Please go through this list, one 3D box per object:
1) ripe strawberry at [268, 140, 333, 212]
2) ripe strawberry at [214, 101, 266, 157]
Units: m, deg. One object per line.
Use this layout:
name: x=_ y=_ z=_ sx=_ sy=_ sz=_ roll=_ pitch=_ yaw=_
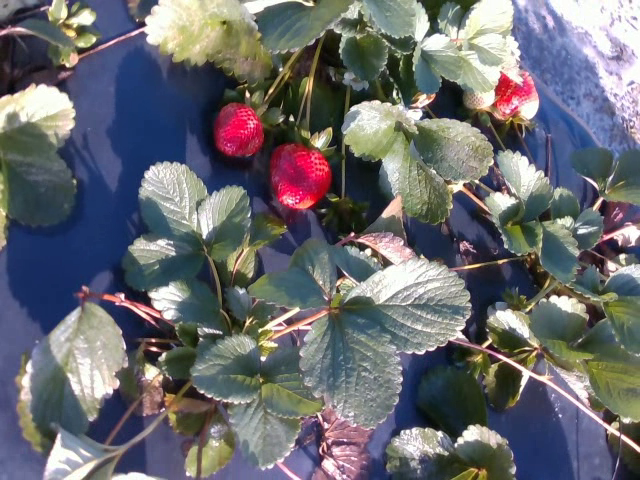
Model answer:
ripe strawberry: x=-0.017 y=-0.041 z=0.430 sx=0.052 sy=0.058 sz=0.046 roll=13 pitch=-41 yaw=8
ripe strawberry: x=-0.061 y=-0.074 z=0.424 sx=0.043 sy=0.052 sz=0.037 roll=4 pitch=-40 yaw=10
